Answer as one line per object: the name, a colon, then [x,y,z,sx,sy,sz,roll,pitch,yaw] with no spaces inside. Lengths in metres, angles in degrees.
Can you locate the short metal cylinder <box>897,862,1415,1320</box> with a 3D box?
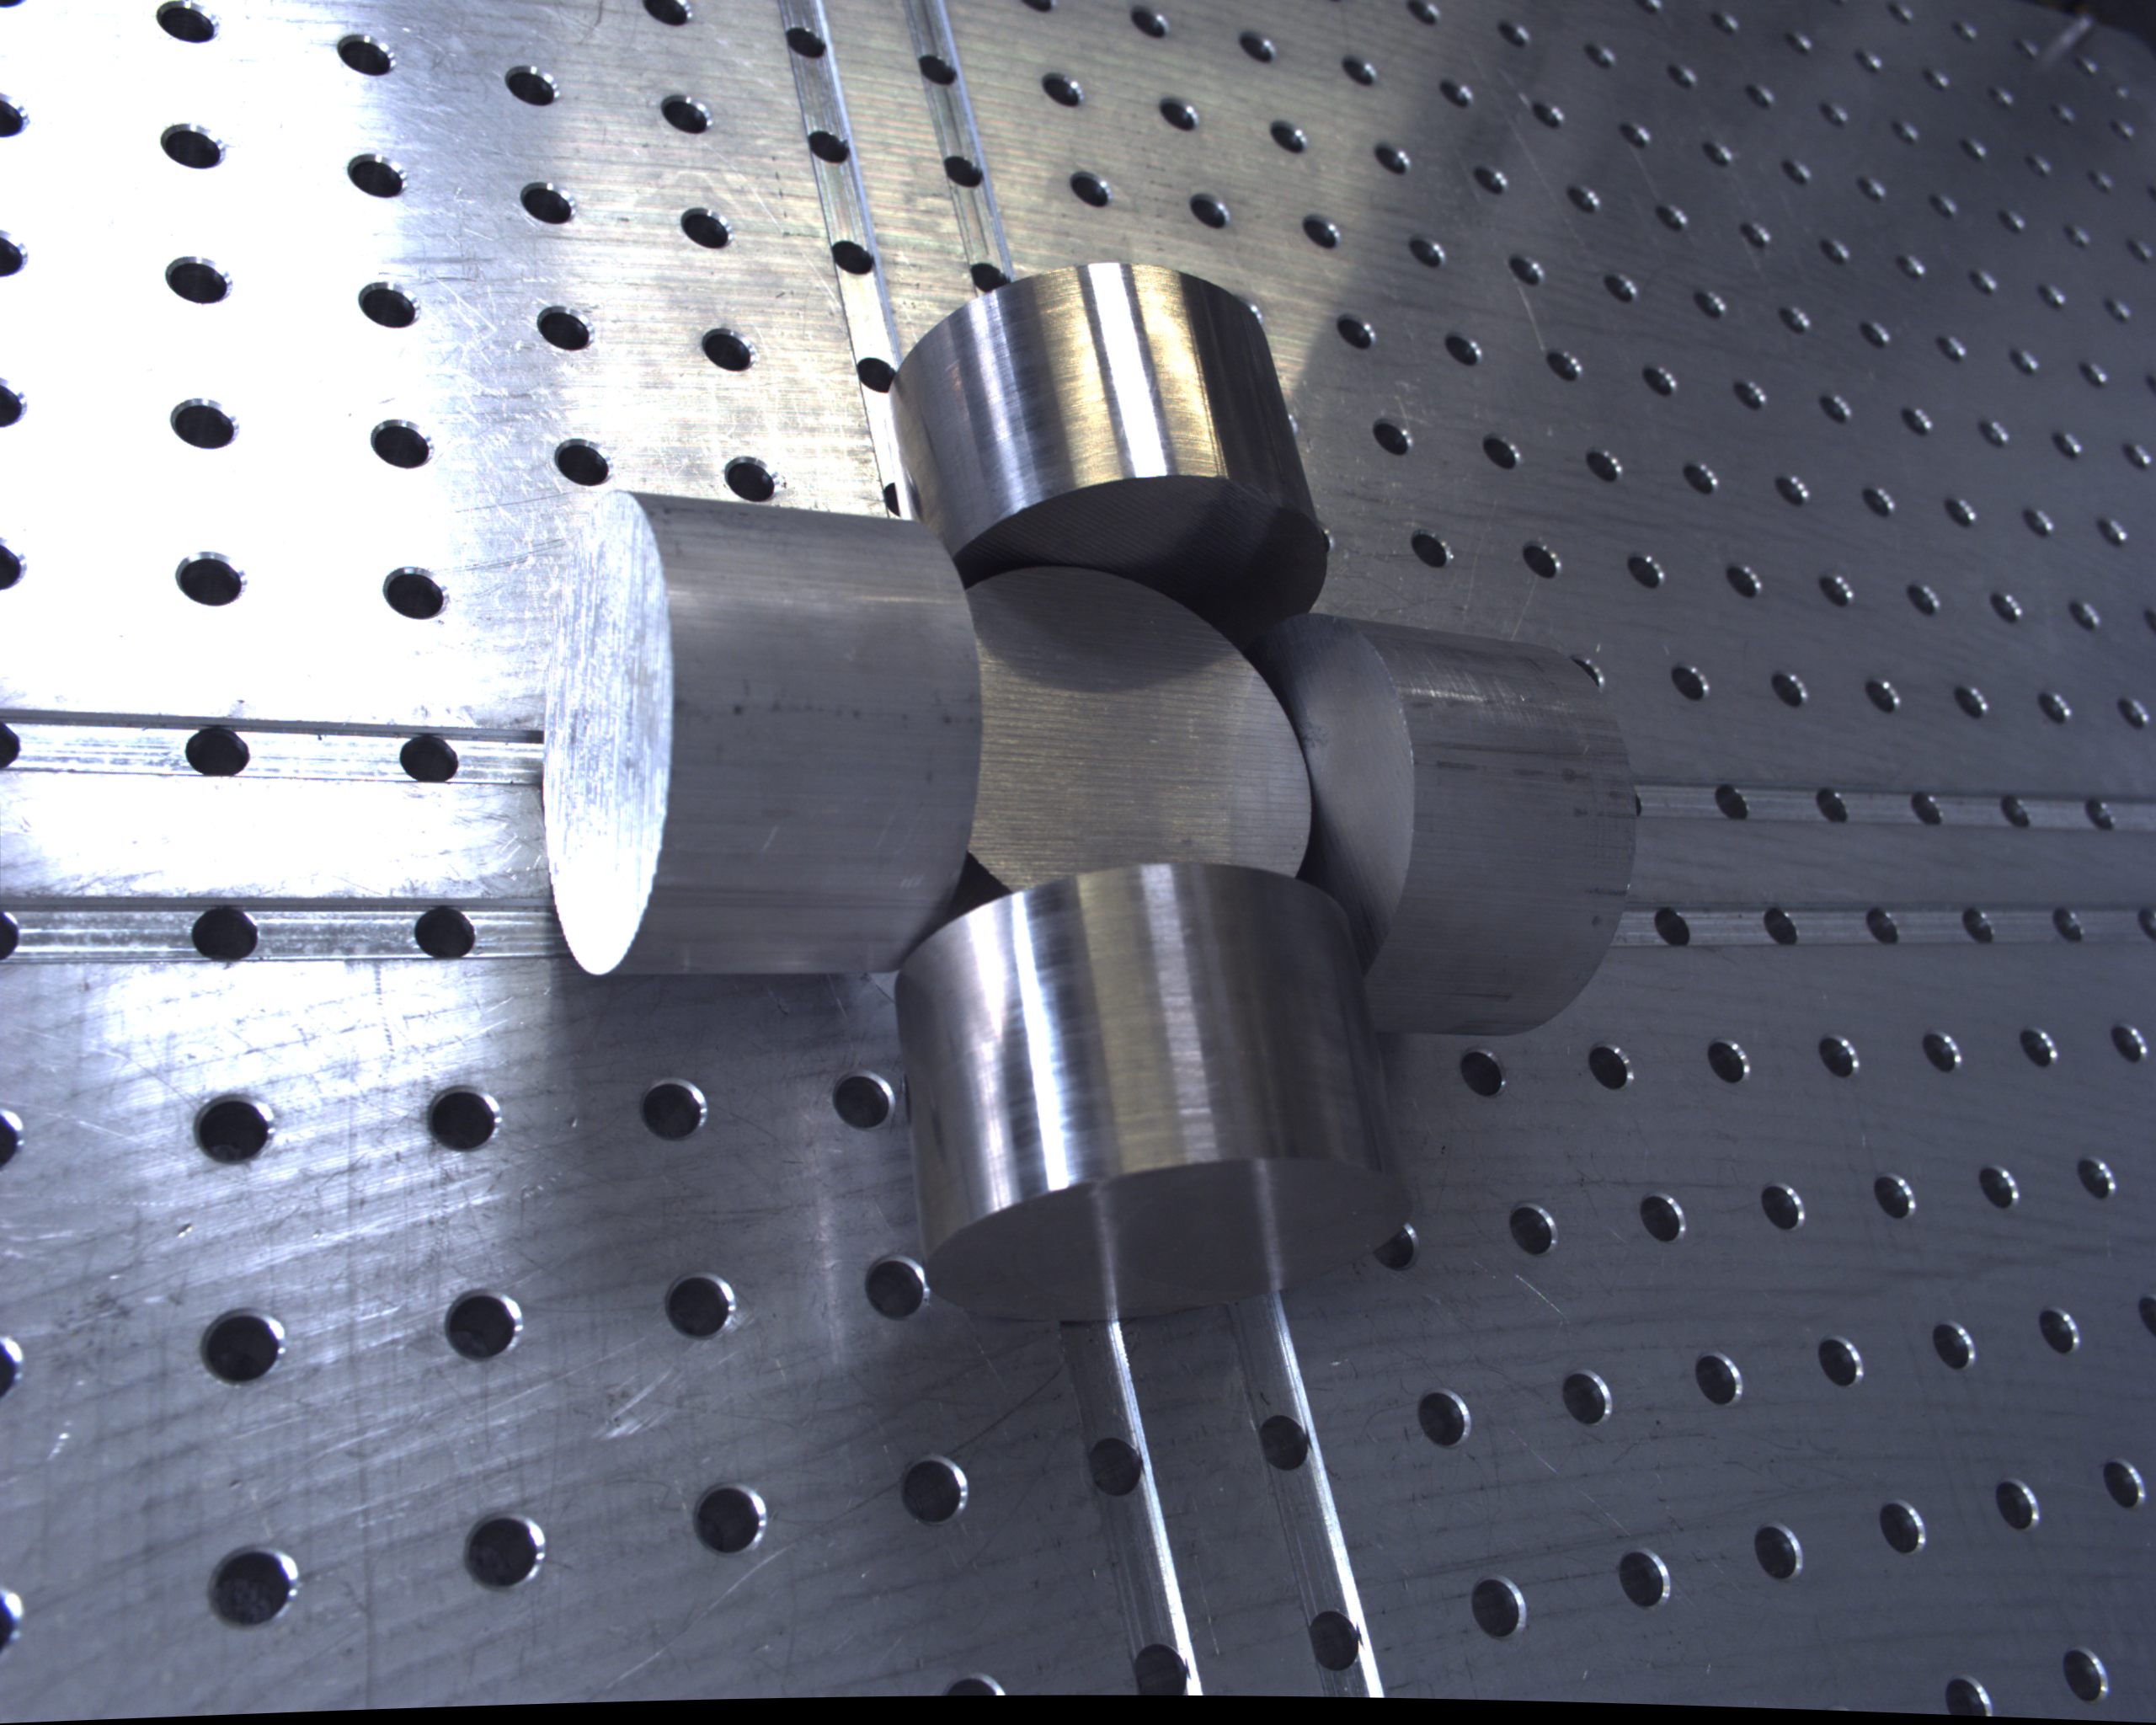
short metal cylinder: [0.012,0.041,0.353,0.081,0.080,0.050,6,59,-25]

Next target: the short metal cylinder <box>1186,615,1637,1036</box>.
short metal cylinder: [0.063,-0.006,0.411,0.050,0.080,0.080,4,60,-27]

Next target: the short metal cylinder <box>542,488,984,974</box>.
short metal cylinder: [-0.056,-0.021,0.355,0.050,0.080,0.080,2,61,-28]

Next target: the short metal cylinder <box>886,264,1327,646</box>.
short metal cylinder: [0.005,-0.073,0.419,0.081,0.080,0.050,3,60,-27]

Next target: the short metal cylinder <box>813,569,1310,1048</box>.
short metal cylinder: [-0.004,-0.008,0.395,0.081,0.050,0.080,14,55,-22]
